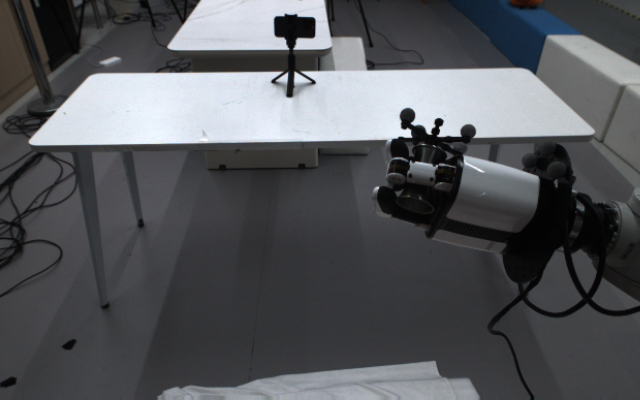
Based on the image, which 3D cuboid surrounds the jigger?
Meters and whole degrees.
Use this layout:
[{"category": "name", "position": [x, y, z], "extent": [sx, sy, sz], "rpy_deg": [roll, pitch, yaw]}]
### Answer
[{"category": "jigger", "position": [0.117, -0.024, 0.550], "extent": [0.043, 0.043, 0.071], "rpy_deg": [13, 73, 15]}]
